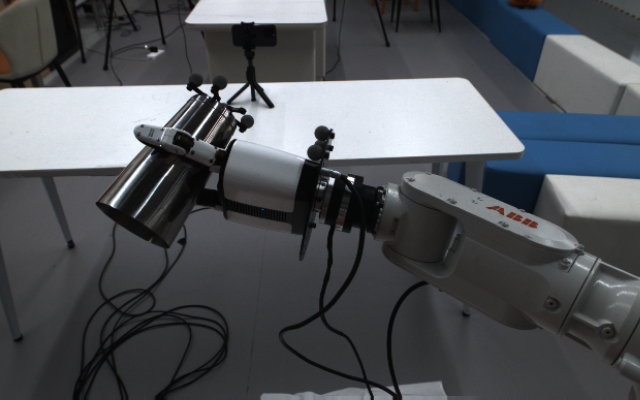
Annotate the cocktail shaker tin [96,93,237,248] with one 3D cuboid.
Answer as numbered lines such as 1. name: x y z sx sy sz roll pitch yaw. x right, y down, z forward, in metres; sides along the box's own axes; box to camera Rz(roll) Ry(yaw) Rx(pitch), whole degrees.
1. cocktail shaker tin: -0.166 -0.042 0.564 0.093 0.093 0.170 18 66 21
